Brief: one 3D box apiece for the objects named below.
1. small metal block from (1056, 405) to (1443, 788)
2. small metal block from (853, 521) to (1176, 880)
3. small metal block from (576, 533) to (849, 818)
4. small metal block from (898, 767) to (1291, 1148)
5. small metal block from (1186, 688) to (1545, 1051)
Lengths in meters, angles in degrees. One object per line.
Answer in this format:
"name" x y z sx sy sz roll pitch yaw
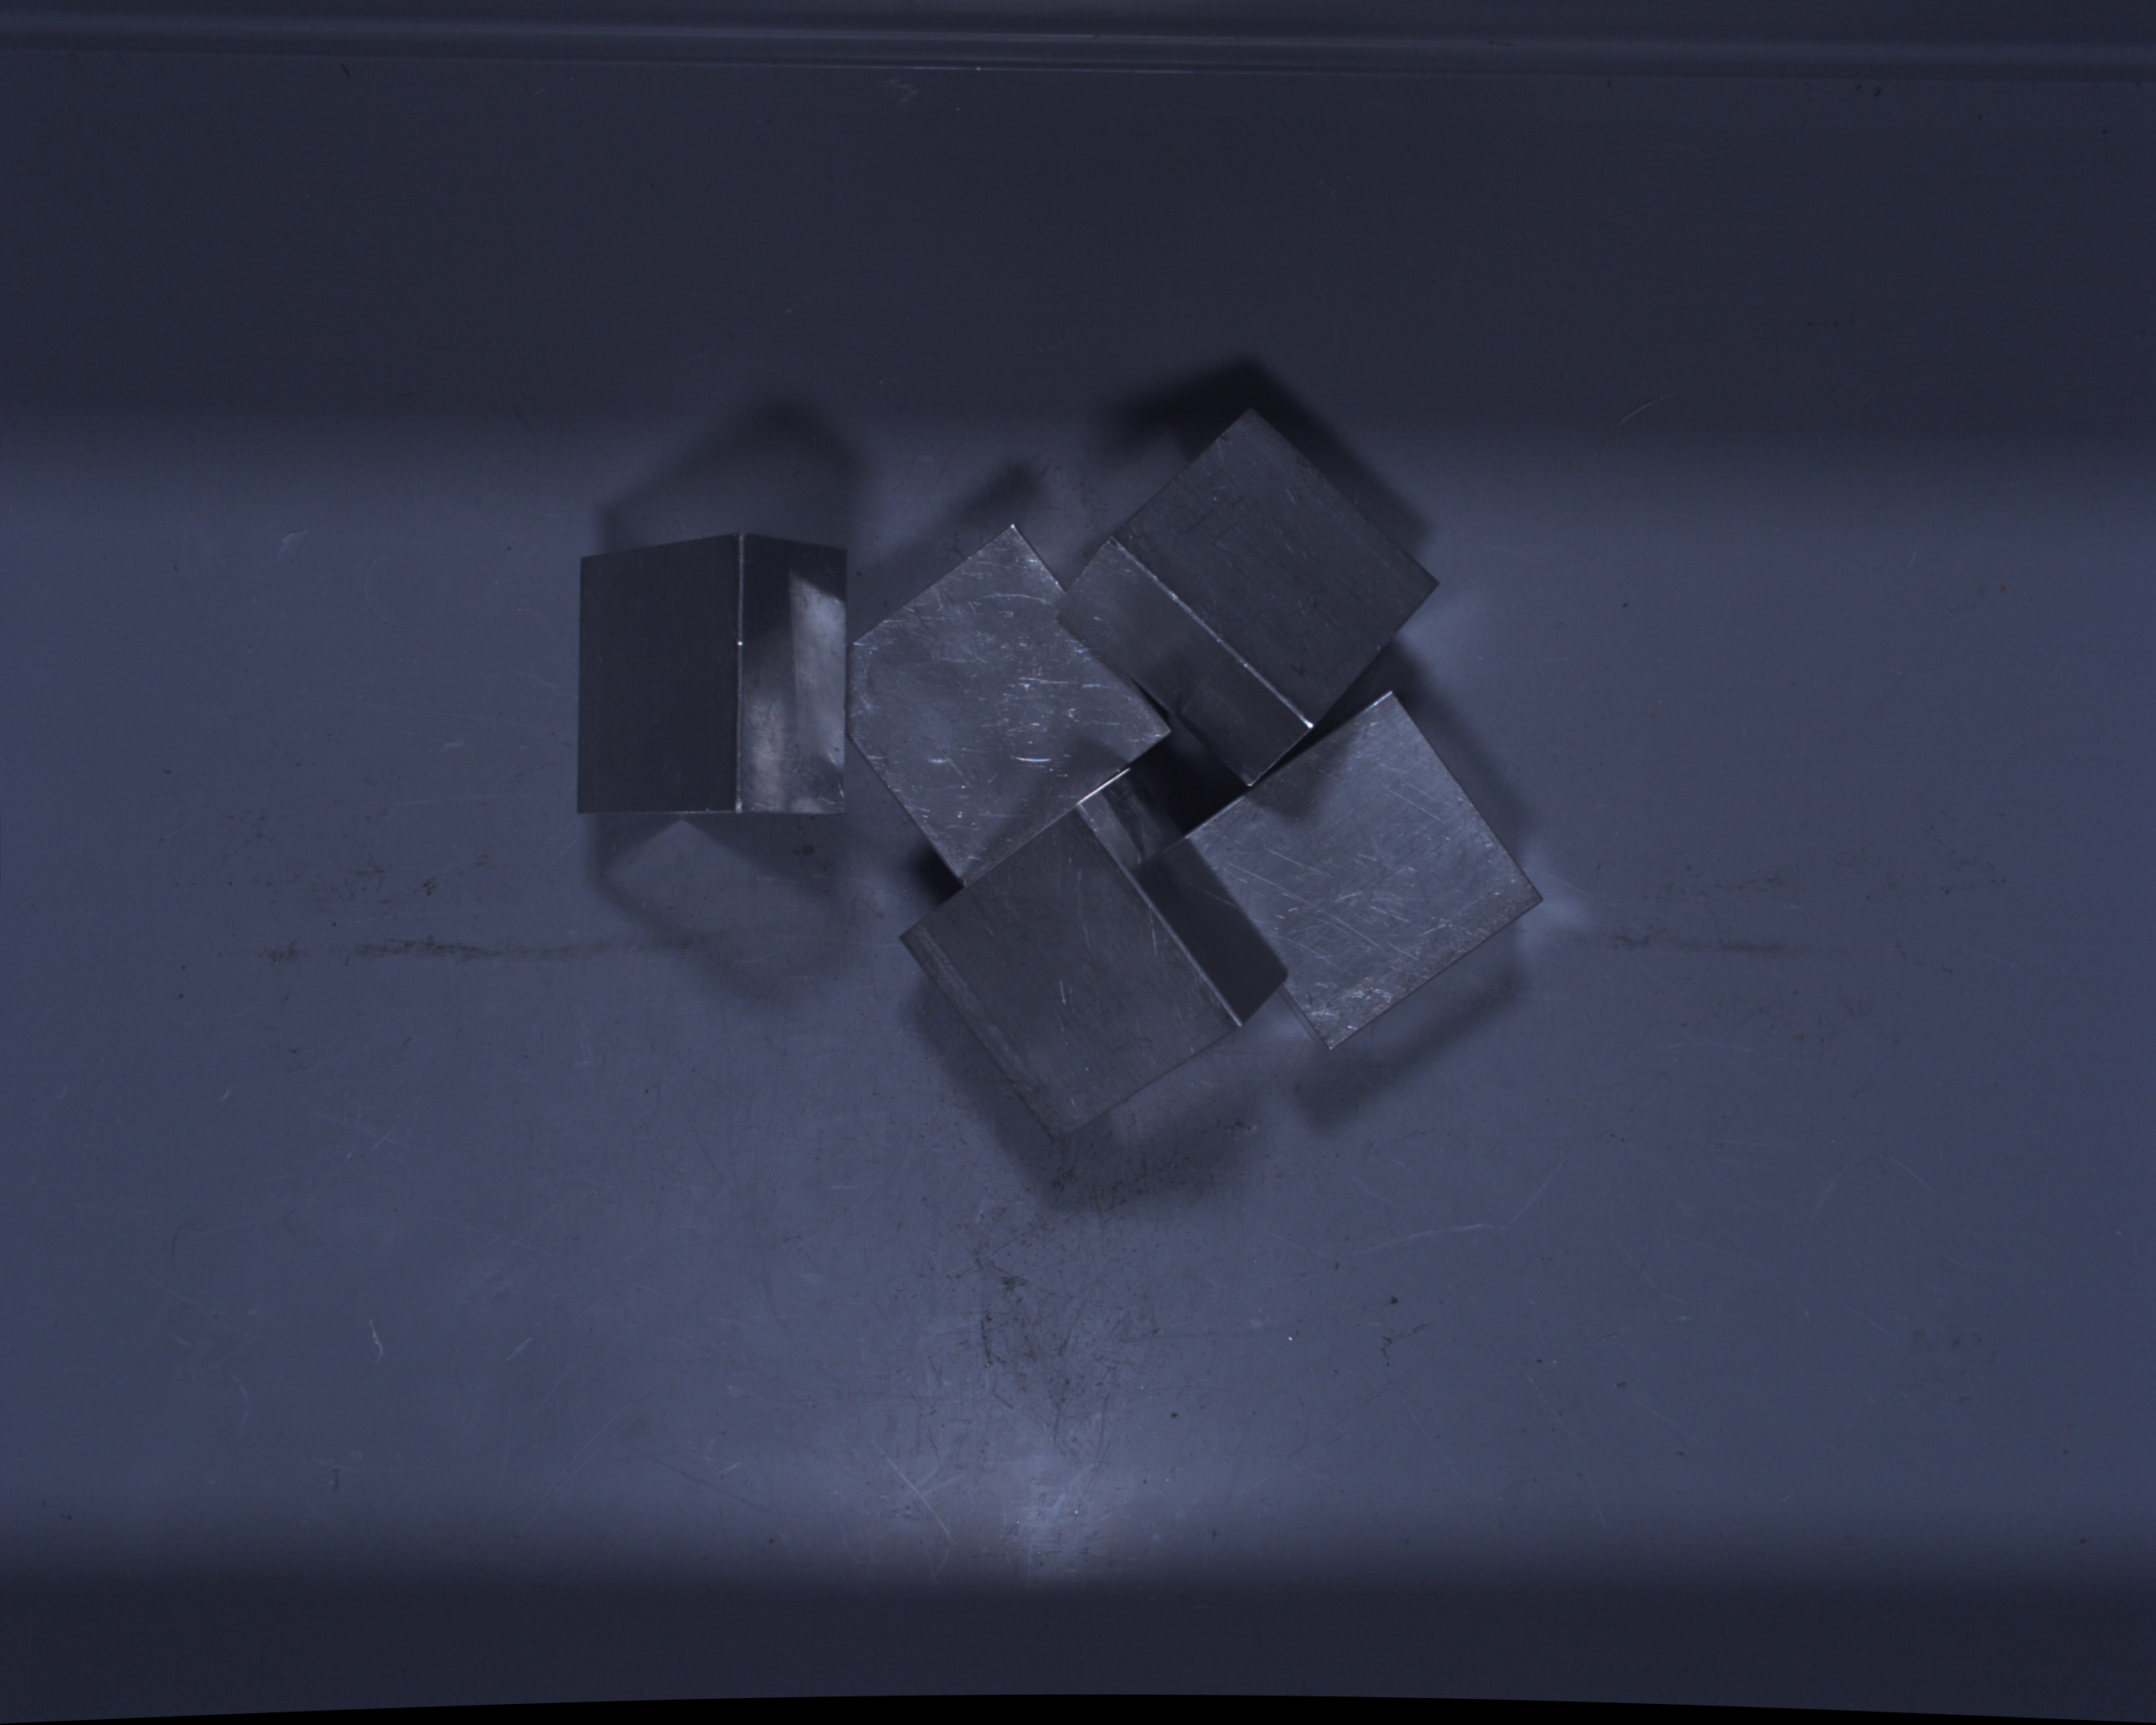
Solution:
"small metal block" 0.033 -0.051 0.399 0.050 0.025 0.050 43 55 -1
"small metal block" -0.017 -0.030 0.409 0.050 0.025 0.050 -38 91 0
"small metal block" -0.070 -0.034 0.395 0.050 0.025 0.050 0 90 43
"small metal block" 0.003 0.018 0.398 0.050 0.025 0.050 -36 90 31
"small metal block" 0.054 0.001 0.410 0.050 0.025 0.050 -36 90 0
